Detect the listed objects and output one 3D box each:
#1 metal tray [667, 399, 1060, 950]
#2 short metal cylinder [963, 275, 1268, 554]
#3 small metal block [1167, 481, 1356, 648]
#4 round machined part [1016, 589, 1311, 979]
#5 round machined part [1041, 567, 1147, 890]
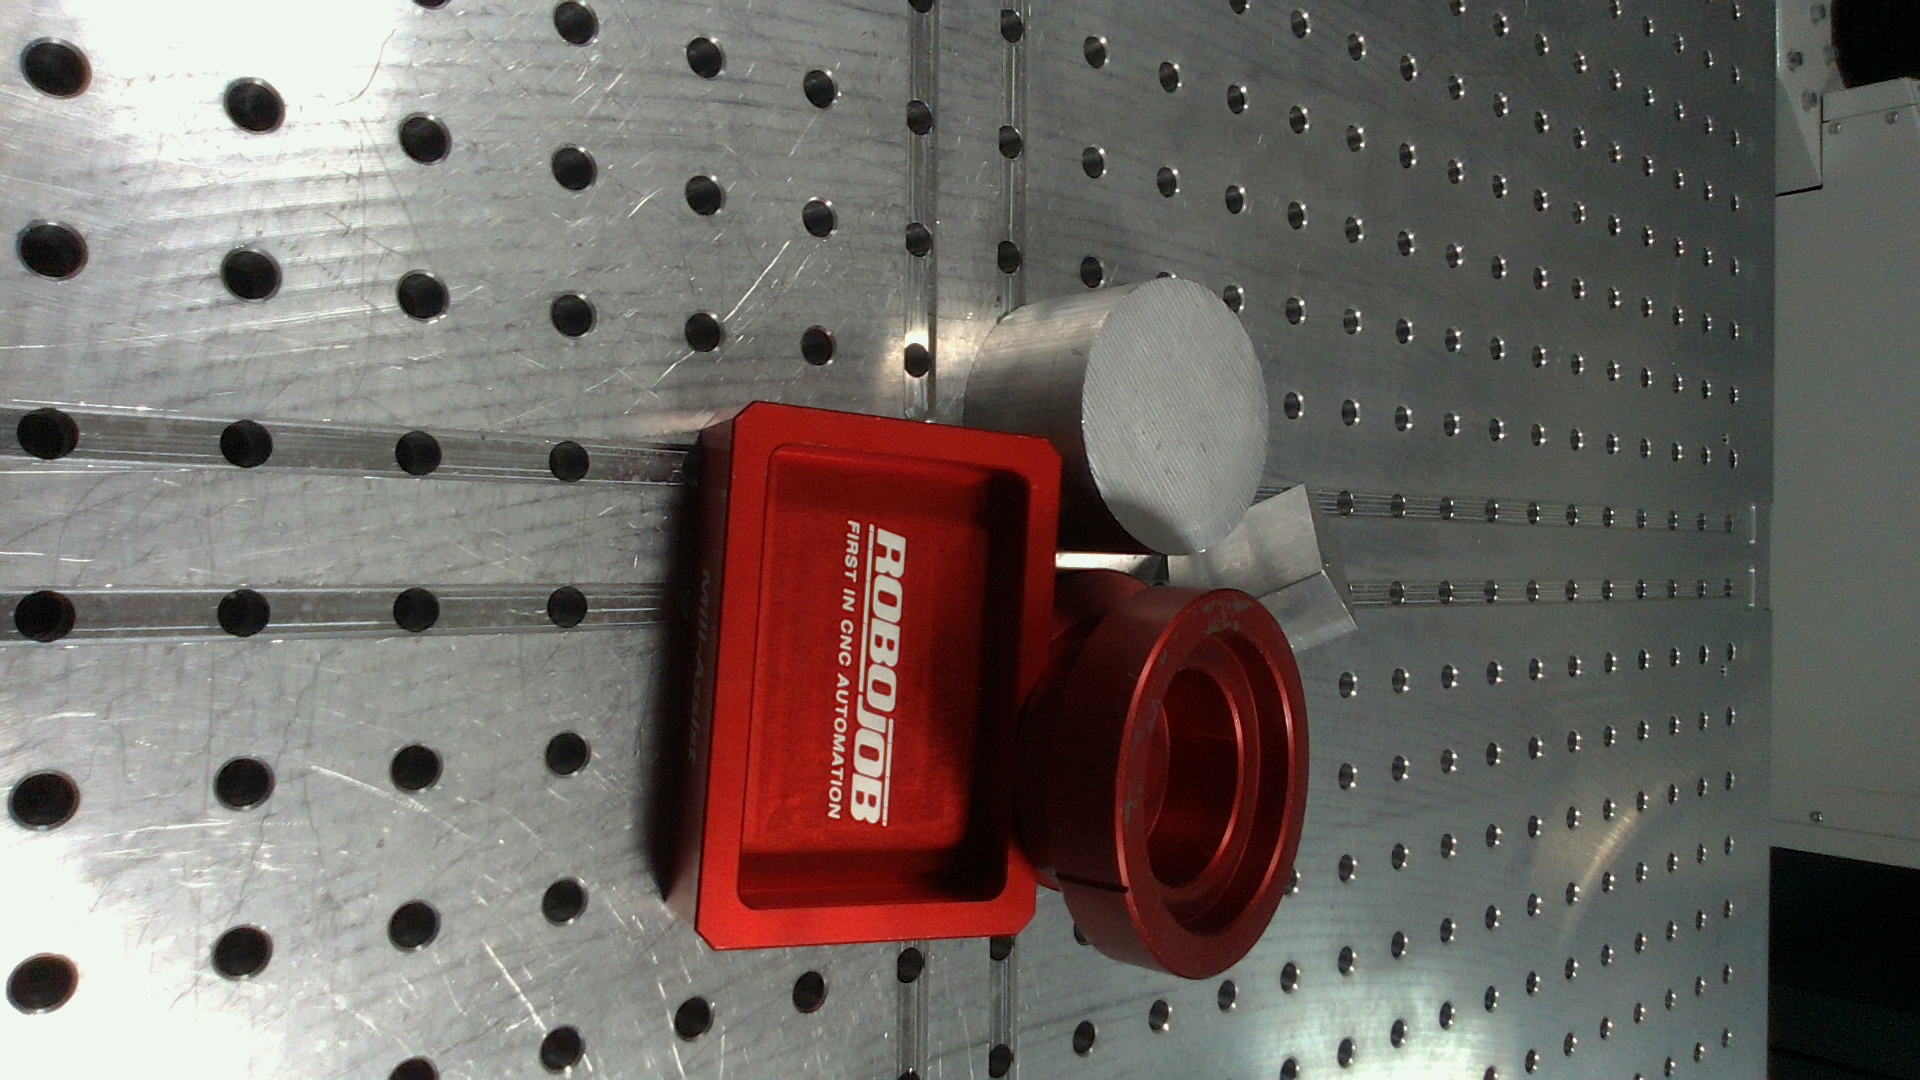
[{"bbox_3d":[-0.024,0.034,0.355,0.090,0.030,0.130,5,87,-25],"label":"metal tray"},{"bbox_3d":[0.048,-0.036,0.415,0.080,0.050,0.080,0,90,-40],"label":"short metal cylinder"},{"bbox_3d":[0.095,0.014,0.442,0.025,0.050,0.050,54,24,-26],"label":"small metal block"},{"bbox_3d":[0.051,0.061,0.362,0.098,0.042,0.098,-3,94,-50],"label":"round machined part"},{"bbox_3d":[0.042,0.057,0.415,0.098,0.042,0.098,0,90,-40],"label":"round machined part"}]
